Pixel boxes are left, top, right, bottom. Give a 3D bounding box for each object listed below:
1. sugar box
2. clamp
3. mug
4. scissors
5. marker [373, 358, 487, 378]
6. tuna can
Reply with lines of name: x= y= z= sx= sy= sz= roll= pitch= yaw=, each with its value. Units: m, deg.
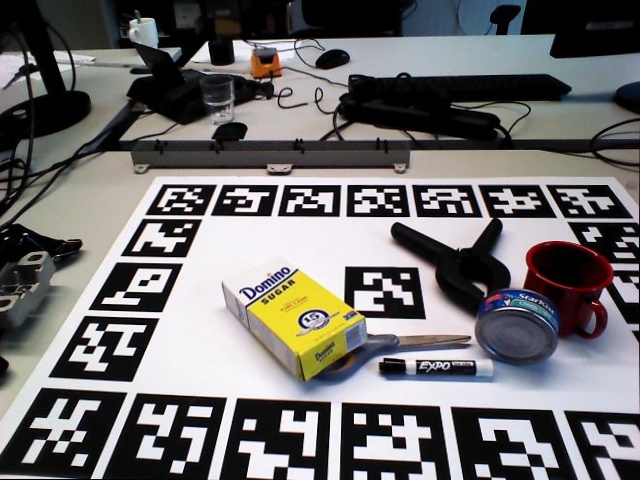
sugar box: x=-0.030 y=0.085 z=0.619 sx=0.092 sy=0.045 sz=0.177 roll=-23 pitch=36 yaw=-25
clamp: x=0.201 y=0.034 z=0.701 sx=0.165 sy=0.037 sz=0.202 roll=-6 pitch=38 yaw=-4
mug: x=0.285 y=0.066 z=0.604 sx=0.093 sy=0.082 sz=0.117 roll=-16 pitch=36 yaw=-17
scissors: x=0.076 y=0.113 z=0.601 sx=0.203 sy=0.016 sz=0.087 roll=-5 pitch=33 yaw=-5
marker: x=0.119 y=0.140 z=0.566 sx=0.121 sy=0.020 sz=0.019 roll=-2 pitch=38 yaw=2
tuna can: x=0.222 y=0.094 z=0.564 sx=0.086 sy=0.086 sz=0.033 roll=11 pitch=40 yaw=18
